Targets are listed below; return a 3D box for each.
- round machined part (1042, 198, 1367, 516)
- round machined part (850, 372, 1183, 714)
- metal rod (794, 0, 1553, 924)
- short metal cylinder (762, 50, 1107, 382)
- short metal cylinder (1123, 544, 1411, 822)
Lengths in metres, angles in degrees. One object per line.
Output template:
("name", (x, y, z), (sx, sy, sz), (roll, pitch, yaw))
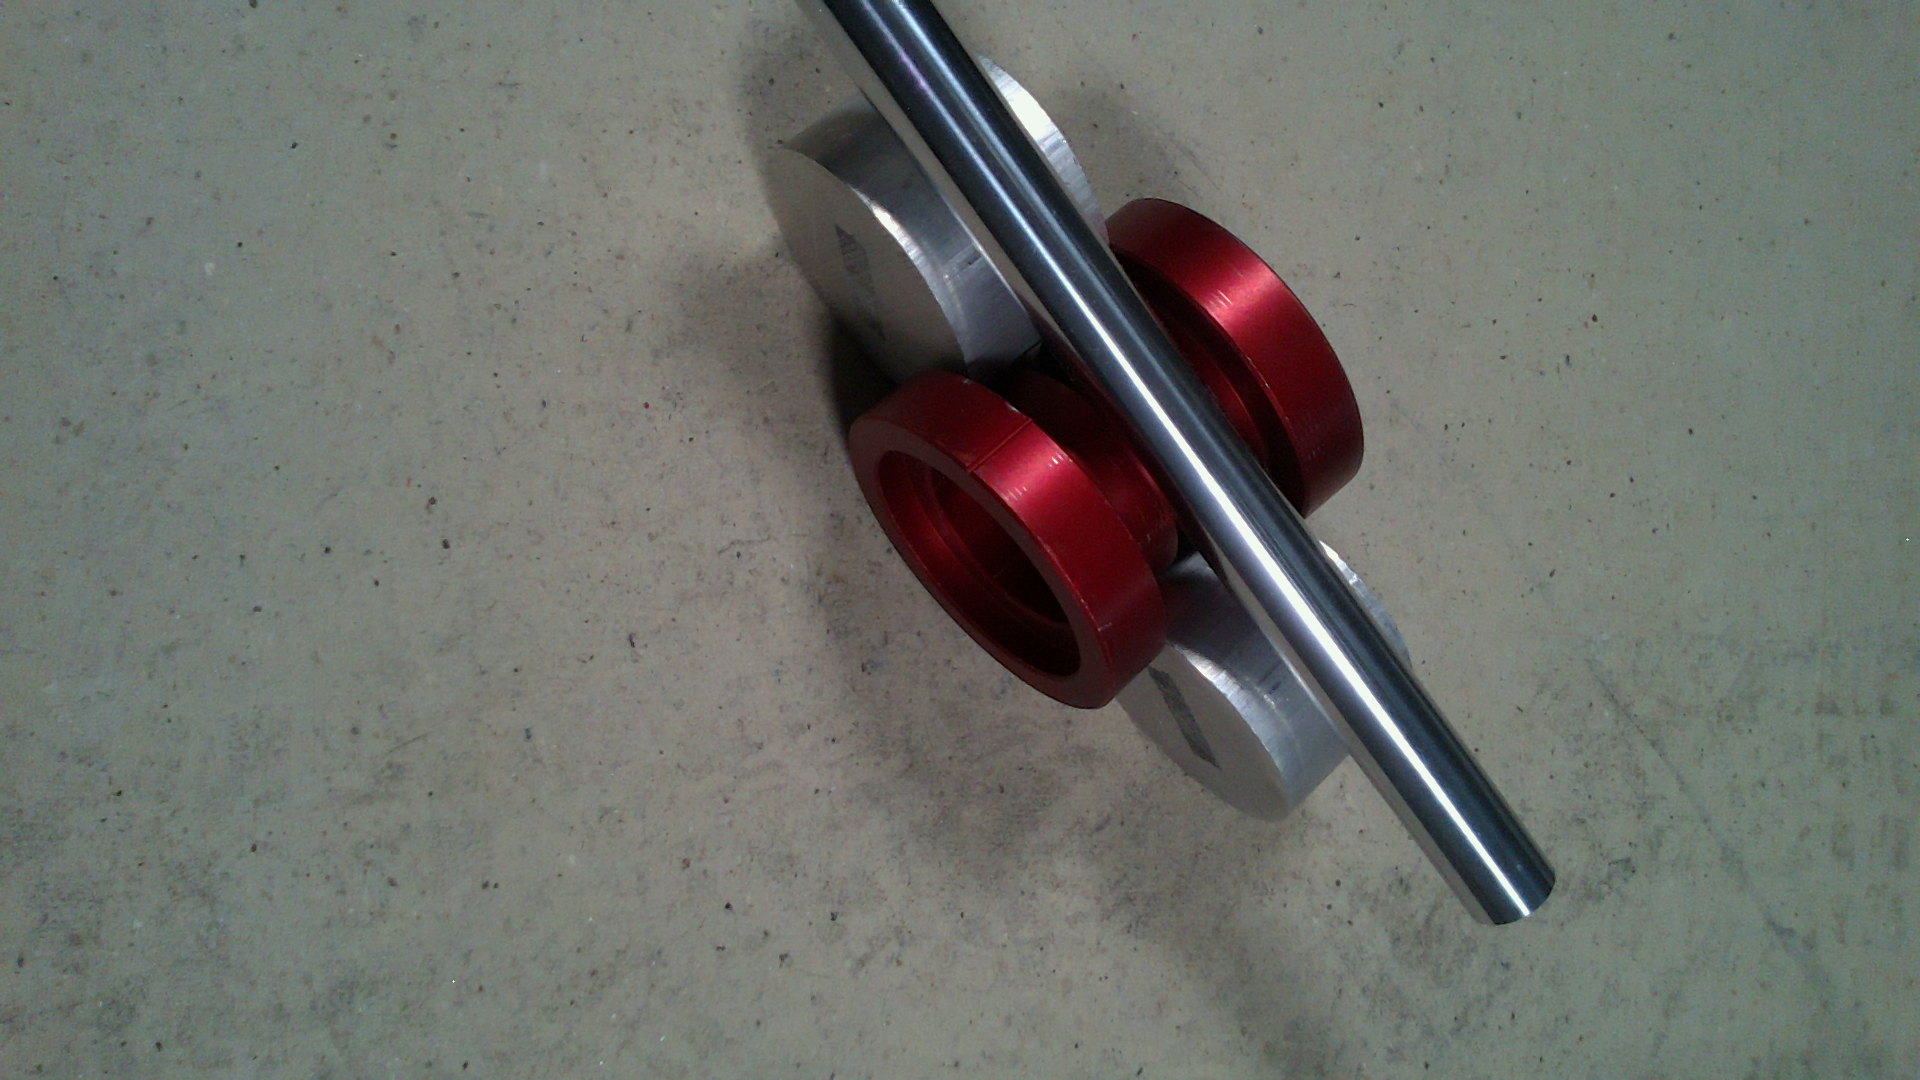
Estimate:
("round machined part", (0.060, -0.040, 0.377), (0.042, 0.098, 0.098), (-40, 103, -11))
("round machined part", (0.019, -0.005, 0.361), (0.042, 0.098, 0.098), (-42, 103, -19))
("metal rod", (0.054, -0.023, 0.329), (0.025, 0.025, 0.300), (-42, 103, -15))
("short metal cylinder", (-0.007, -0.082, 0.362), (0.050, 0.080, 0.080), (-41, 103, -15))
("short metal cylinder", (0.080, 0.033, 0.393), (0.050, 0.080, 0.080), (-41, 103, -15))
